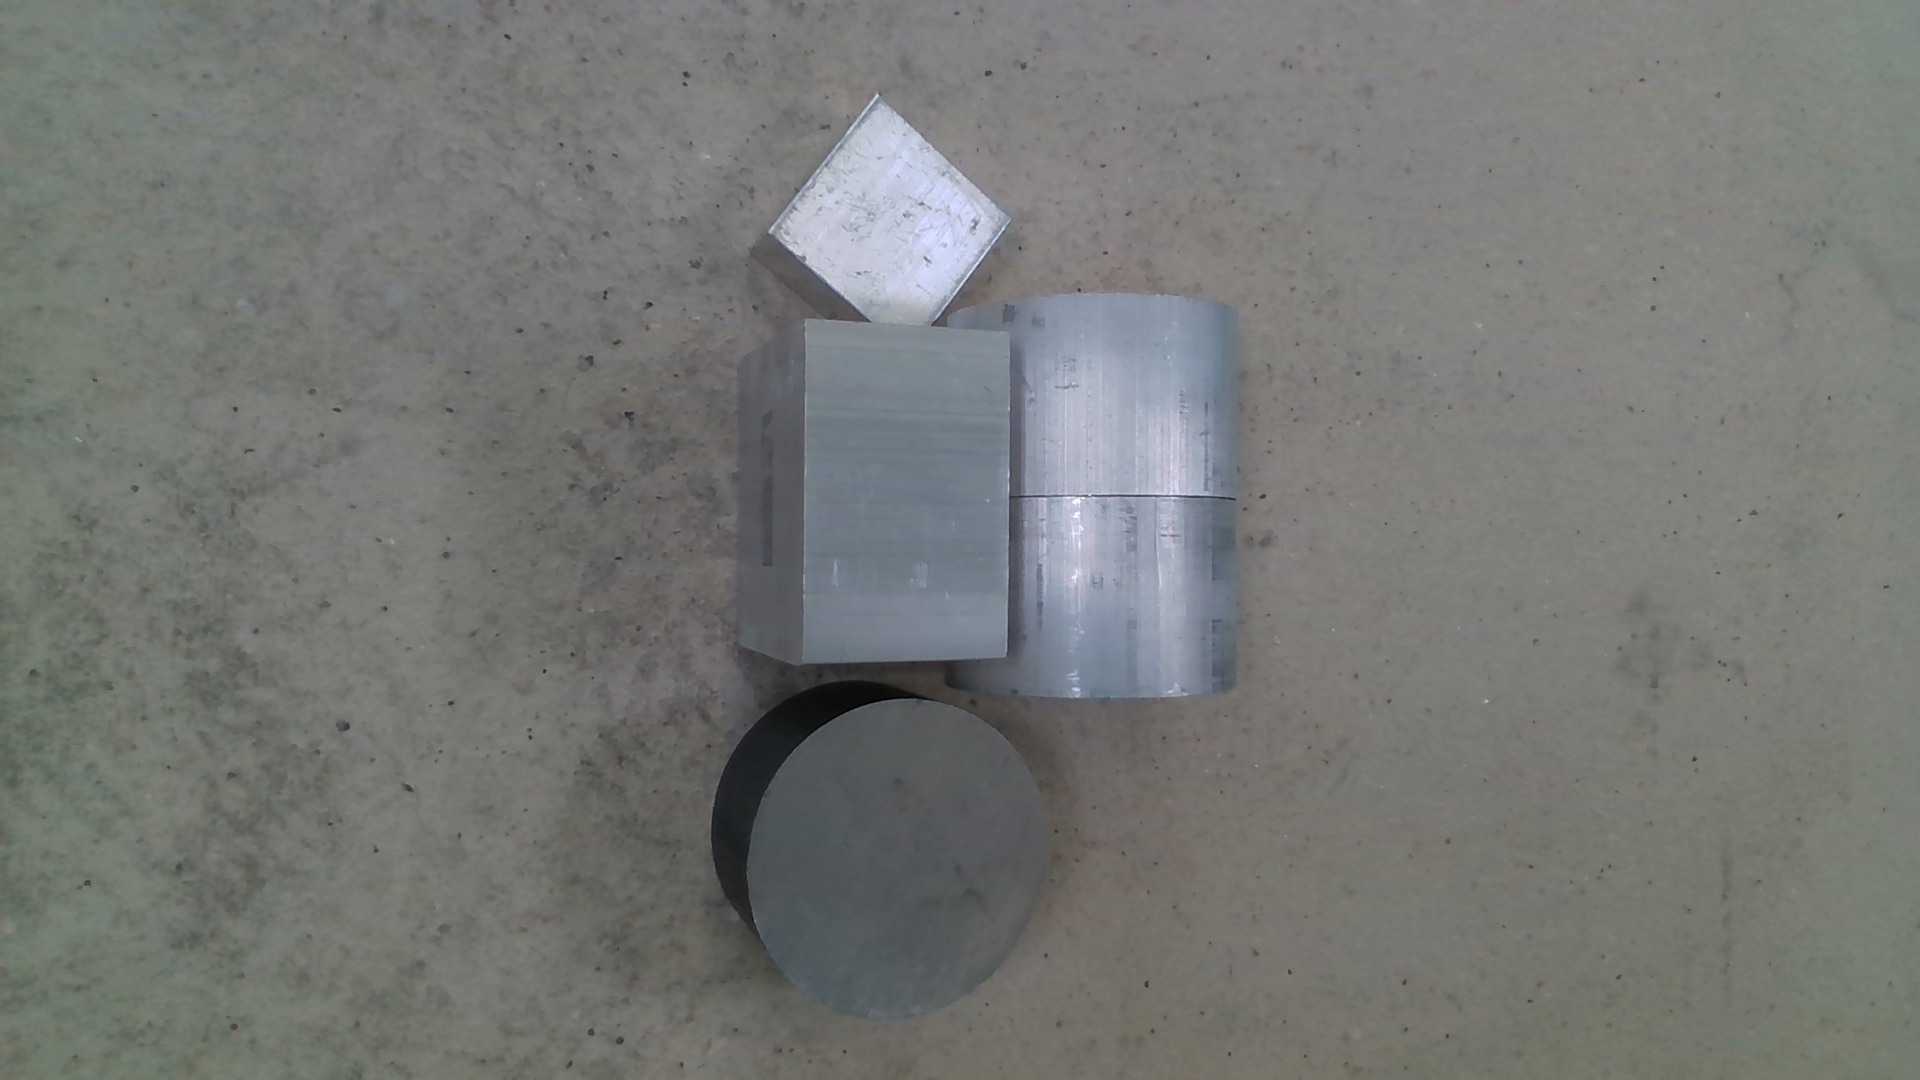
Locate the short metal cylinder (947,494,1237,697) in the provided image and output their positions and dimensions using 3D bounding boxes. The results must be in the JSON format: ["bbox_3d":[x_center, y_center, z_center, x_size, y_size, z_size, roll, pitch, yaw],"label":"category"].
[{"bbox_3d":[0.036,0.014,0.379,0.080,0.080,0.050,1,90,-20],"label":"short metal cylinder"}]

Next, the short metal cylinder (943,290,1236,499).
[{"bbox_3d":[0.035,-0.036,0.378,0.080,0.080,0.050,1,90,-20],"label":"short metal cylinder"}]

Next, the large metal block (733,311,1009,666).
[{"bbox_3d":[-0.026,-0.011,0.356,0.050,0.080,0.080,1,90,-20],"label":"large metal block"}]

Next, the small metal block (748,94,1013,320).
[{"bbox_3d":[-0.022,-0.086,0.386,0.050,0.025,0.050,39,77,-16],"label":"small metal block"}]

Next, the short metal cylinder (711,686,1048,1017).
[{"bbox_3d":[-0.023,0.081,0.372,0.080,0.050,0.080,0,90,-20],"label":"short metal cylinder"}]
